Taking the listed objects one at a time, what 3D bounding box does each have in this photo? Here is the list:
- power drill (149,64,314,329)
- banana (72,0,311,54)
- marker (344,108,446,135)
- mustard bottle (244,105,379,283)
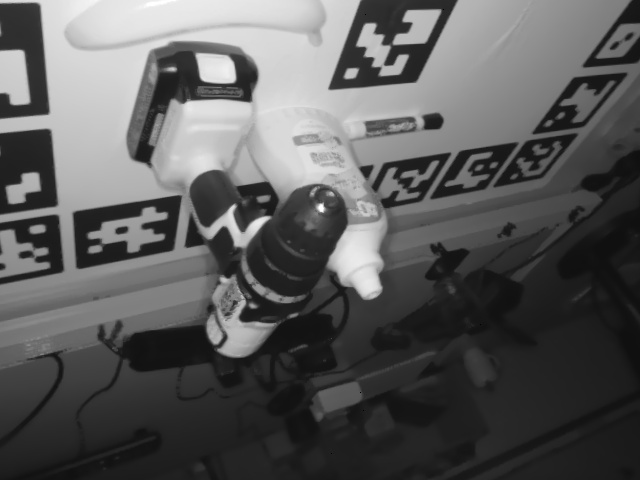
[{"bbox_3d":[-0.076,-0.046,0.548,0.058,0.187,0.181,-1,145,-32],"label":"power drill"},{"bbox_3d":[-0.085,-0.175,0.532,0.200,0.039,0.073,-9,144,-30],"label":"banana"},{"bbox_3d":[0.083,-0.128,0.748,0.123,0.019,0.019,-11,146,-25],"label":"marker"},{"bbox_3d":[0.002,-0.042,0.648,0.098,0.191,0.057,-4,144,-31],"label":"mustard bottle"}]
